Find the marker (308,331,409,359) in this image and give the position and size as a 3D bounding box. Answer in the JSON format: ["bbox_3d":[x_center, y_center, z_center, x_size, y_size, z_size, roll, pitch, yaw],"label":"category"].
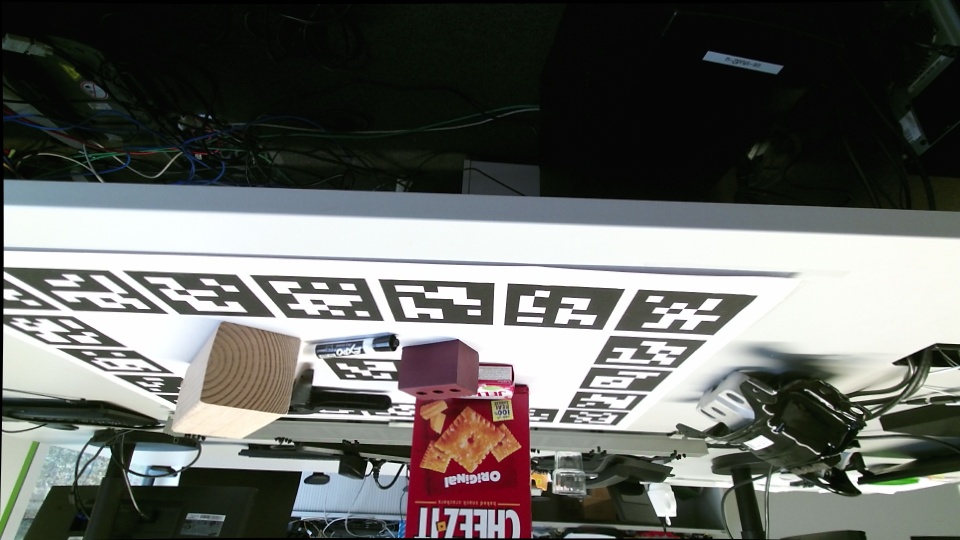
[{"bbox_3d":[-0.136,0.084,0.598,0.121,0.019,0.020,-9,145,17],"label":"marker"}]

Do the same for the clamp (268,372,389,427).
[{"bbox_3d":[-0.261,0.200,0.780,0.203,0.036,0.166,-16,143,26],"label":"clamp"}]

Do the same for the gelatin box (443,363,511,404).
[{"bbox_3d":[-0.006,0.148,0.692,0.090,0.030,0.073,1,147,1],"label":"gelatin box"}]

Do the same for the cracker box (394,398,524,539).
[{"bbox_3d":[-0.023,0.284,0.727,0.165,0.212,0.072,1,150,5],"label":"cracker box"}]

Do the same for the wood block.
[{"bbox_3d":[-0.300,0.140,0.640,0.090,0.090,0.206,19,147,-30],"label":"wood block"}]

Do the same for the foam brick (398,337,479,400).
[{"bbox_3d":[-0.046,0.115,0.616,0.078,0.051,0.053,-12,144,21],"label":"foam brick"}]
